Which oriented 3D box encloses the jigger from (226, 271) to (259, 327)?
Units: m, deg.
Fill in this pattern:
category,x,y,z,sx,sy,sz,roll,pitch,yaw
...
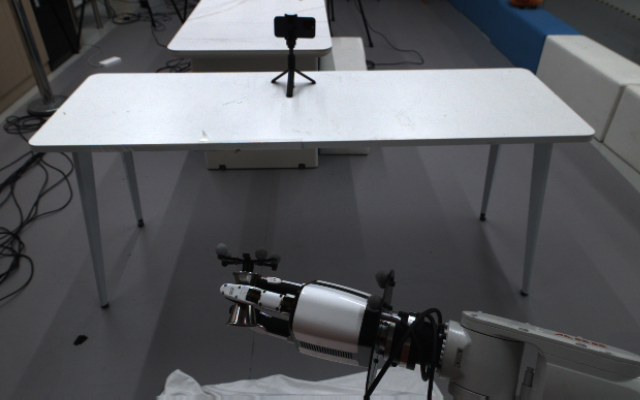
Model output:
category,x,y,z,sx,sy,sz,roll,pitch,yaw
jigger,-0.101,0.131,0.644,0.043,0.043,0.071,3,72,1
